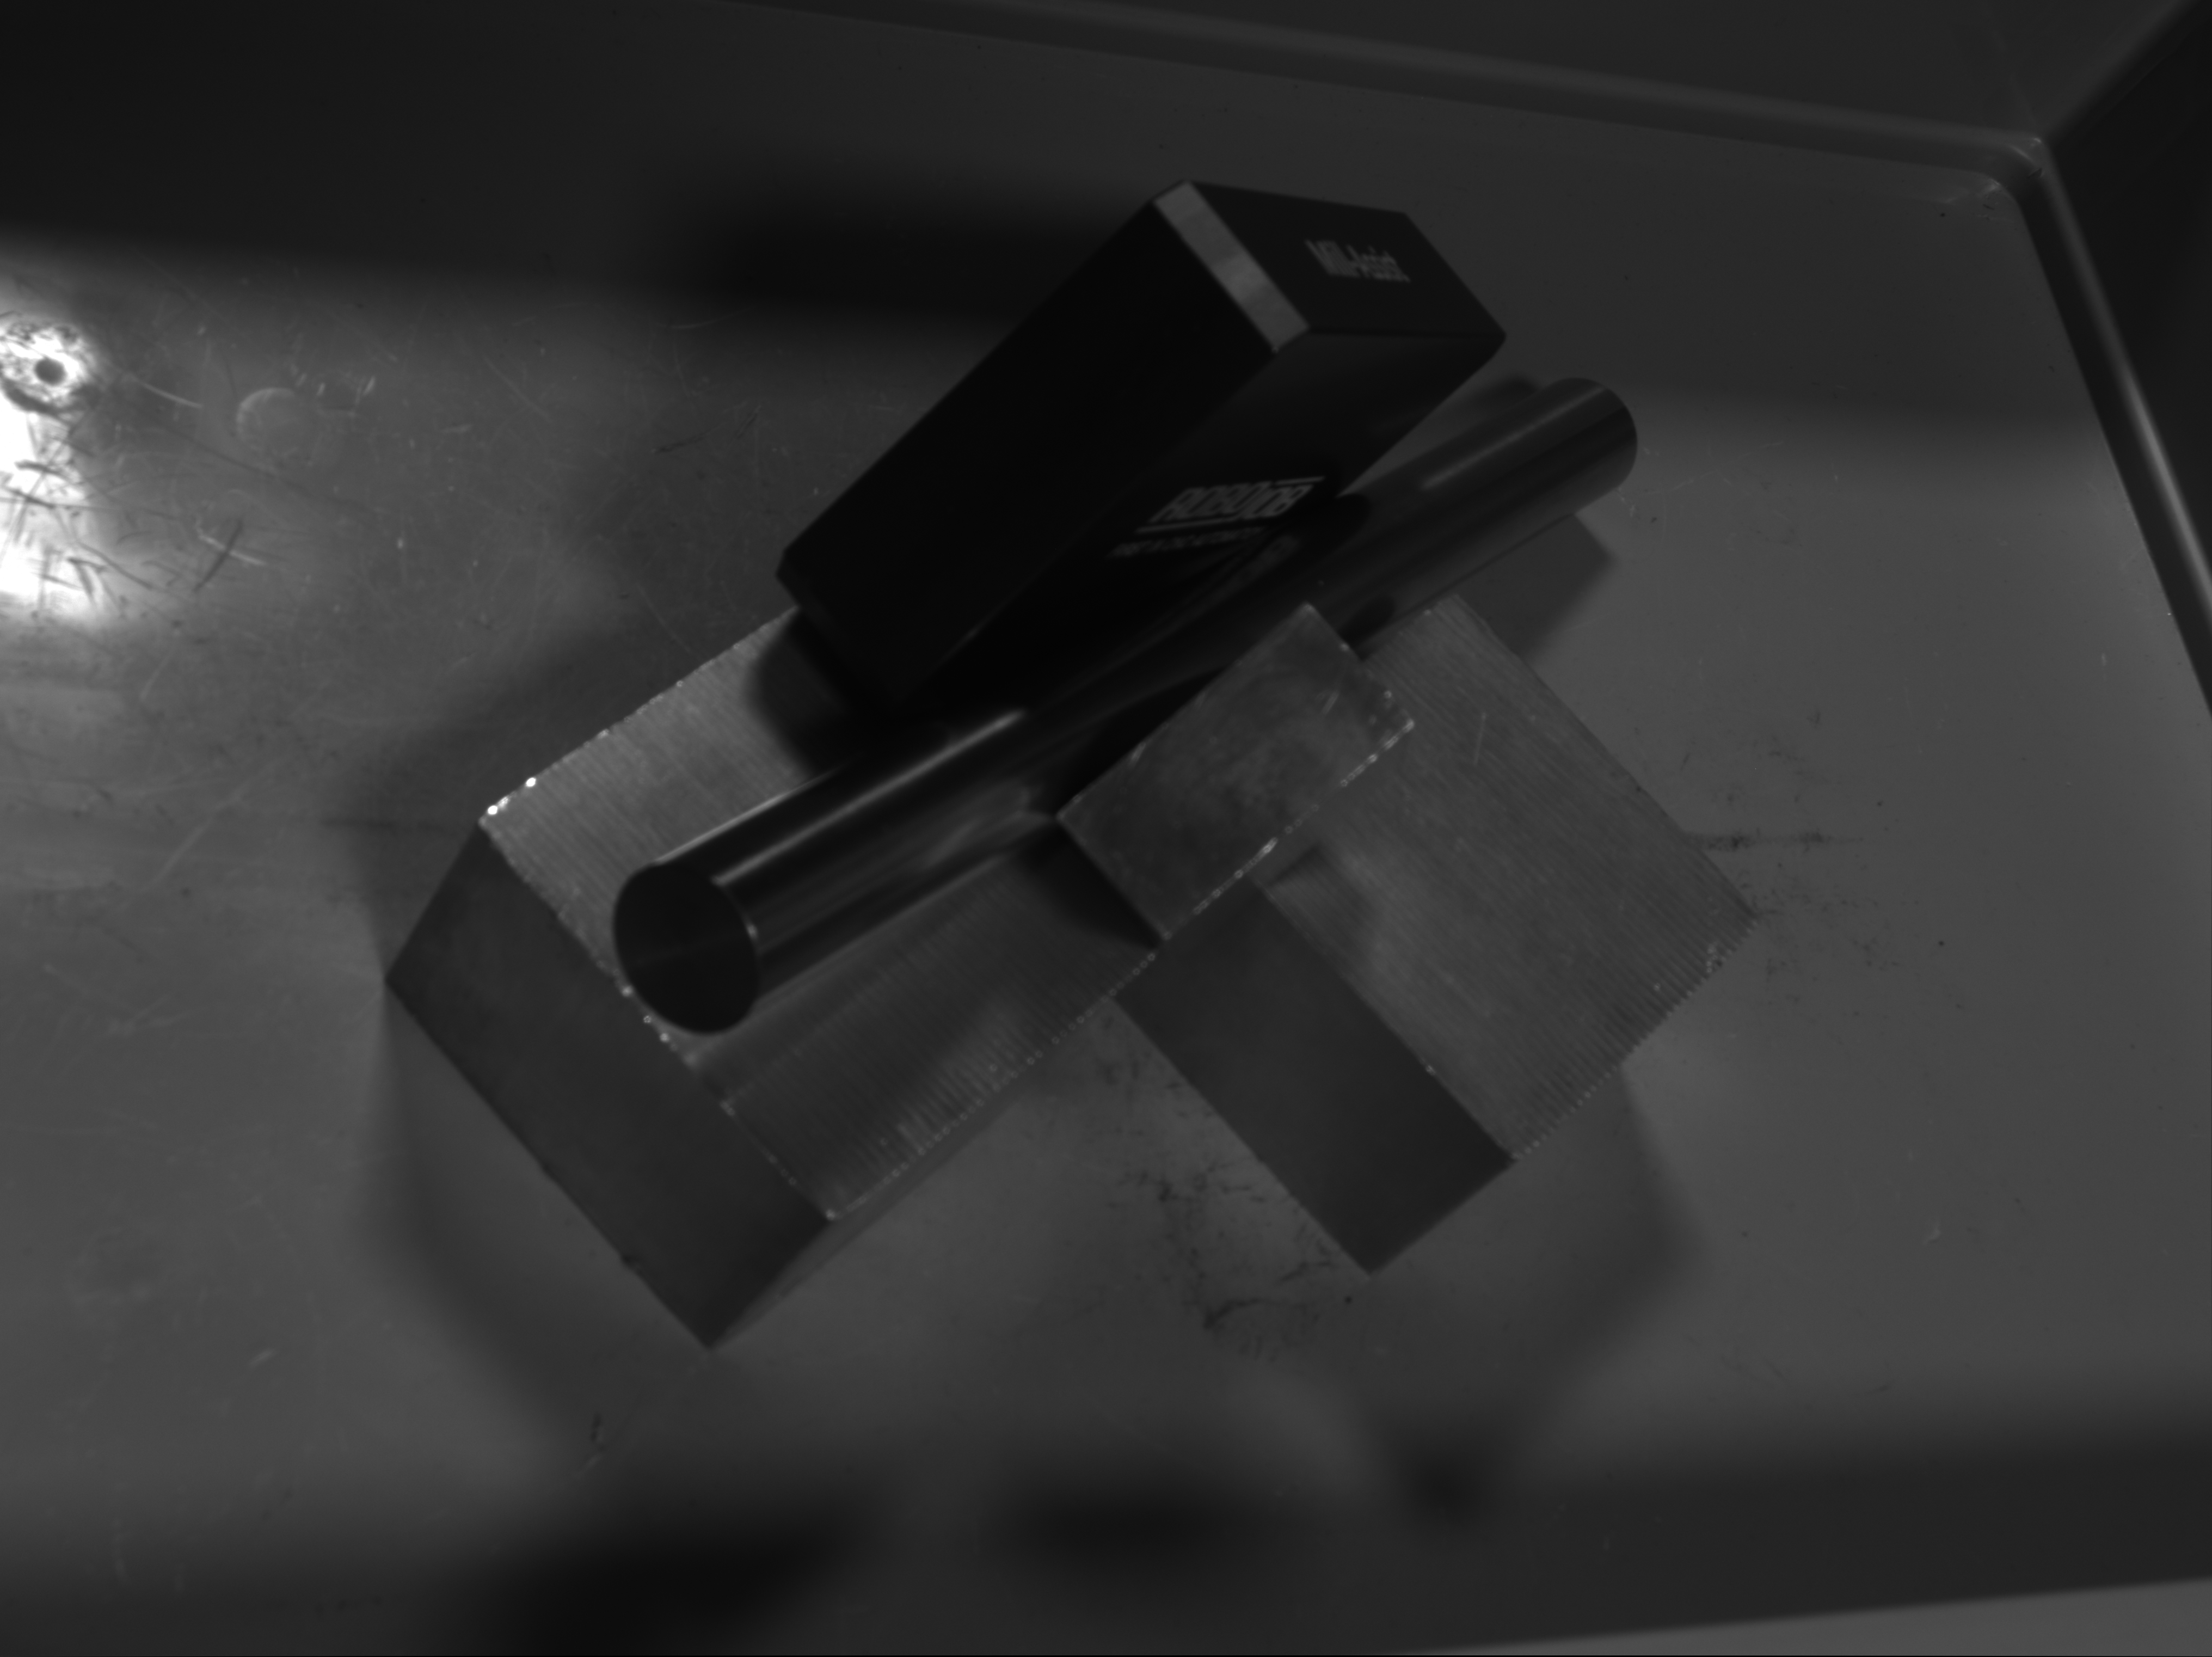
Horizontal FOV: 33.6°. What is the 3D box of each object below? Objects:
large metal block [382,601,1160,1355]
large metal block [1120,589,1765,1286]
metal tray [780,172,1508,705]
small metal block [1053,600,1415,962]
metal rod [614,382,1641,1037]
[{"bbox_3d":[-0.052,0.021,0.579,0.080,0.050,0.080,48,51,5],"label":"large metal block"},{"bbox_3d":[0.054,0.018,0.641,0.080,0.050,0.080,48,51,5],"label":"large metal block"},{"bbox_3d":[0.010,-0.065,0.607,0.030,0.090,0.130,52,20,7],"label":"metal tray"},{"bbox_3d":[0.021,-0.006,0.575,0.050,0.050,0.025,-40,83,-2],"label":"small metal block"},{"bbox_3d":[0.020,-0.031,0.620,0.025,0.025,0.301,49,36,7],"label":"metal rod"}]
